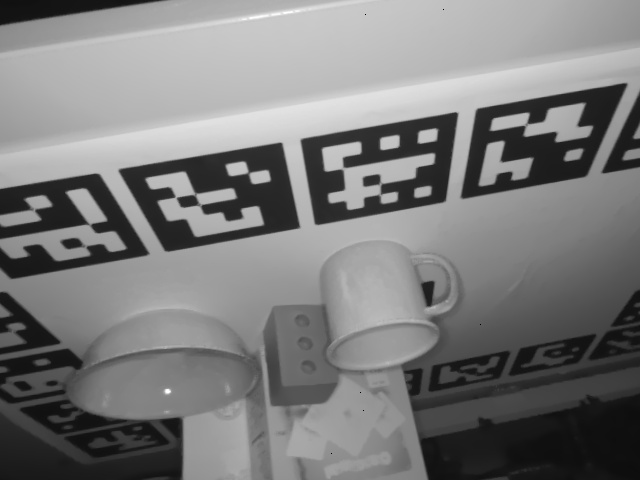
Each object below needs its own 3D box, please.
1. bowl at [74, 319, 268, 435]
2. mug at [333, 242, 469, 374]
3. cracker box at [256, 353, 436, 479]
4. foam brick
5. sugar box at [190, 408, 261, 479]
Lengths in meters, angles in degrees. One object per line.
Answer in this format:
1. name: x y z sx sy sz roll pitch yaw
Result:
1. bowl: -0.129 0.116 0.611 0.162 0.055 0.160 -8 144 -5
2. mug: 0.069 0.051 0.568 0.117 0.082 0.093 -16 152 4
3. cracker box: 0.028 0.223 0.686 0.166 0.215 0.071 10 142 -25
4. foam brick: -0.006 0.110 0.645 0.053 0.078 0.050 -1 144 -15
5. sugar box: -0.083 0.235 0.701 0.094 0.177 0.044 3 142 -20
